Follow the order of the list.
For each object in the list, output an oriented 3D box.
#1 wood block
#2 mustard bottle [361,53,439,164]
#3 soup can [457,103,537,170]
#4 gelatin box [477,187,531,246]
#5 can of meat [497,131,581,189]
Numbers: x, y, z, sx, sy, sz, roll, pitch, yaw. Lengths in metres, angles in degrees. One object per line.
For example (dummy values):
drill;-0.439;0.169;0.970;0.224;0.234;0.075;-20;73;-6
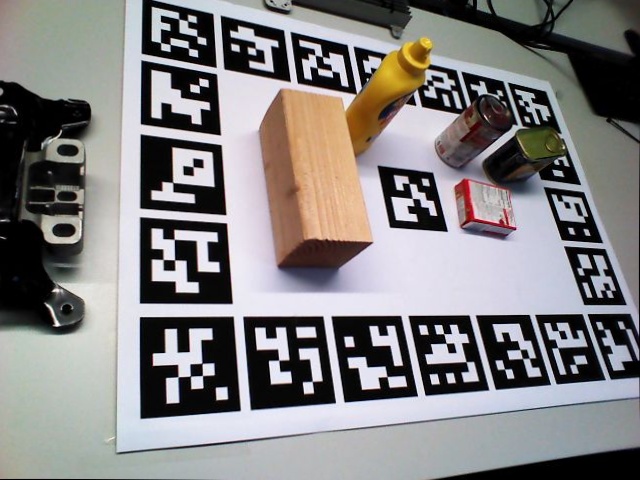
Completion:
wood block;0.011;-0.062;0.637;0.091;0.090;0.205;4;61;-26
mustard bottle;0.104;-0.173;0.679;0.095;0.193;0.058;-26;79;-34
soup can;0.266;-0.159;0.788;0.068;0.103;0.067;10;64;-21
gelatin box;0.285;-0.036;0.787;0.089;0.030;0.073;11;64;-18
can of meat;0.350;-0.127;0.836;0.101;0.084;0.057;-12;73;-32
